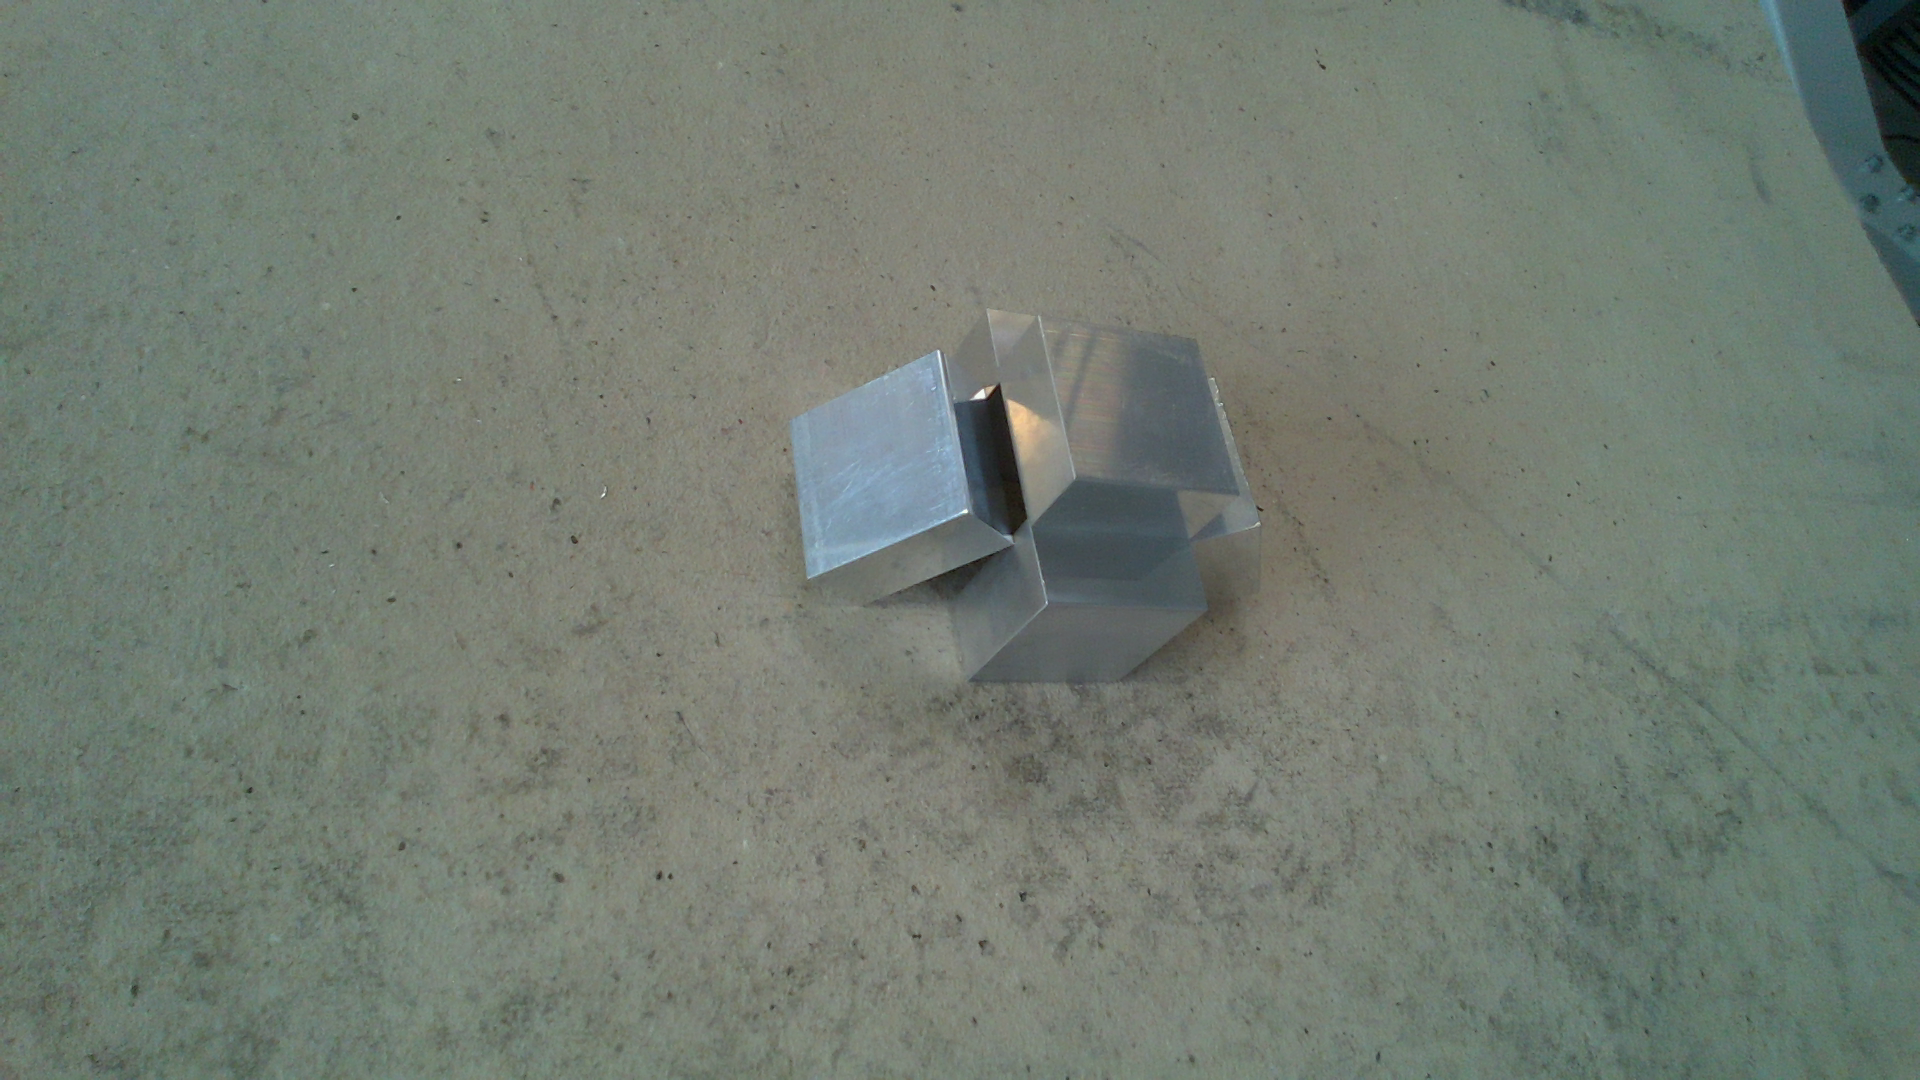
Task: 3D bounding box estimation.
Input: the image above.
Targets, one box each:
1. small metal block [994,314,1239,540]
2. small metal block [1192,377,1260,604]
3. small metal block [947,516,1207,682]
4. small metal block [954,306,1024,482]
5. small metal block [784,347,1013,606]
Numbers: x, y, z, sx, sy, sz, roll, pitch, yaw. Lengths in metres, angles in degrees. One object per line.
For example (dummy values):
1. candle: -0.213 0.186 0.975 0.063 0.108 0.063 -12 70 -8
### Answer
1. small metal block: 0.041 -0.029 0.367 0.050 0.025 0.050 4 60 -26
2. small metal block: 0.071 -0.013 0.418 0.025 0.050 0.050 -14 64 5
3. small metal block: 0.031 0.018 0.381 0.050 0.050 0.025 3 60 -27
4. small metal block: 0.021 -0.041 0.411 0.050 0.050 0.025 5 60 -26
5. small metal block: -0.018 -0.016 0.372 0.025 0.050 0.050 34 40 -54
